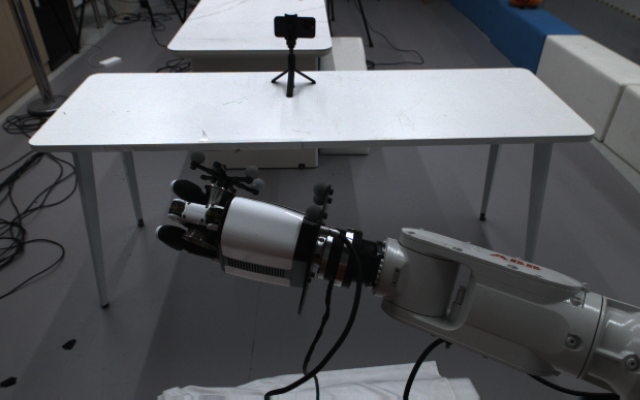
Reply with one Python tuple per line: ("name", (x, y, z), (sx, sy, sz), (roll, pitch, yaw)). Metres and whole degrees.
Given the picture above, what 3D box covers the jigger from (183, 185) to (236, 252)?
("jigger", (-0.127, 0.021, 0.575), (0.043, 0.043, 0.071), (12, 71, 14))
